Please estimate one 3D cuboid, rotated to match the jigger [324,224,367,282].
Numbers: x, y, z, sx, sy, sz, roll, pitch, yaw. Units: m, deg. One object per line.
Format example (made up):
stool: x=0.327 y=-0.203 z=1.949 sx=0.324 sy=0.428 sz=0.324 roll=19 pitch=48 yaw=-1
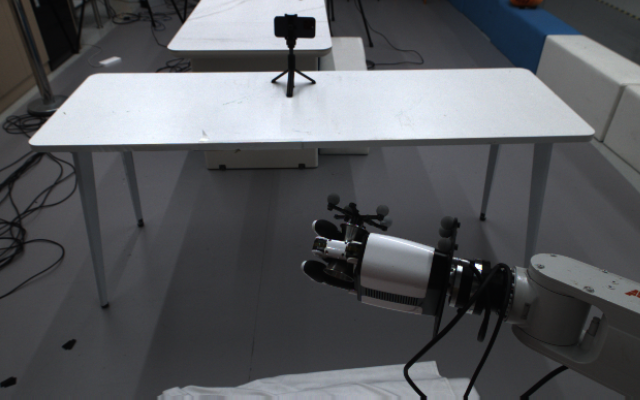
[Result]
jigger: x=0.038 y=0.069 z=0.644 sx=0.043 sy=0.043 sz=0.071 roll=13 pitch=70 yaw=16
